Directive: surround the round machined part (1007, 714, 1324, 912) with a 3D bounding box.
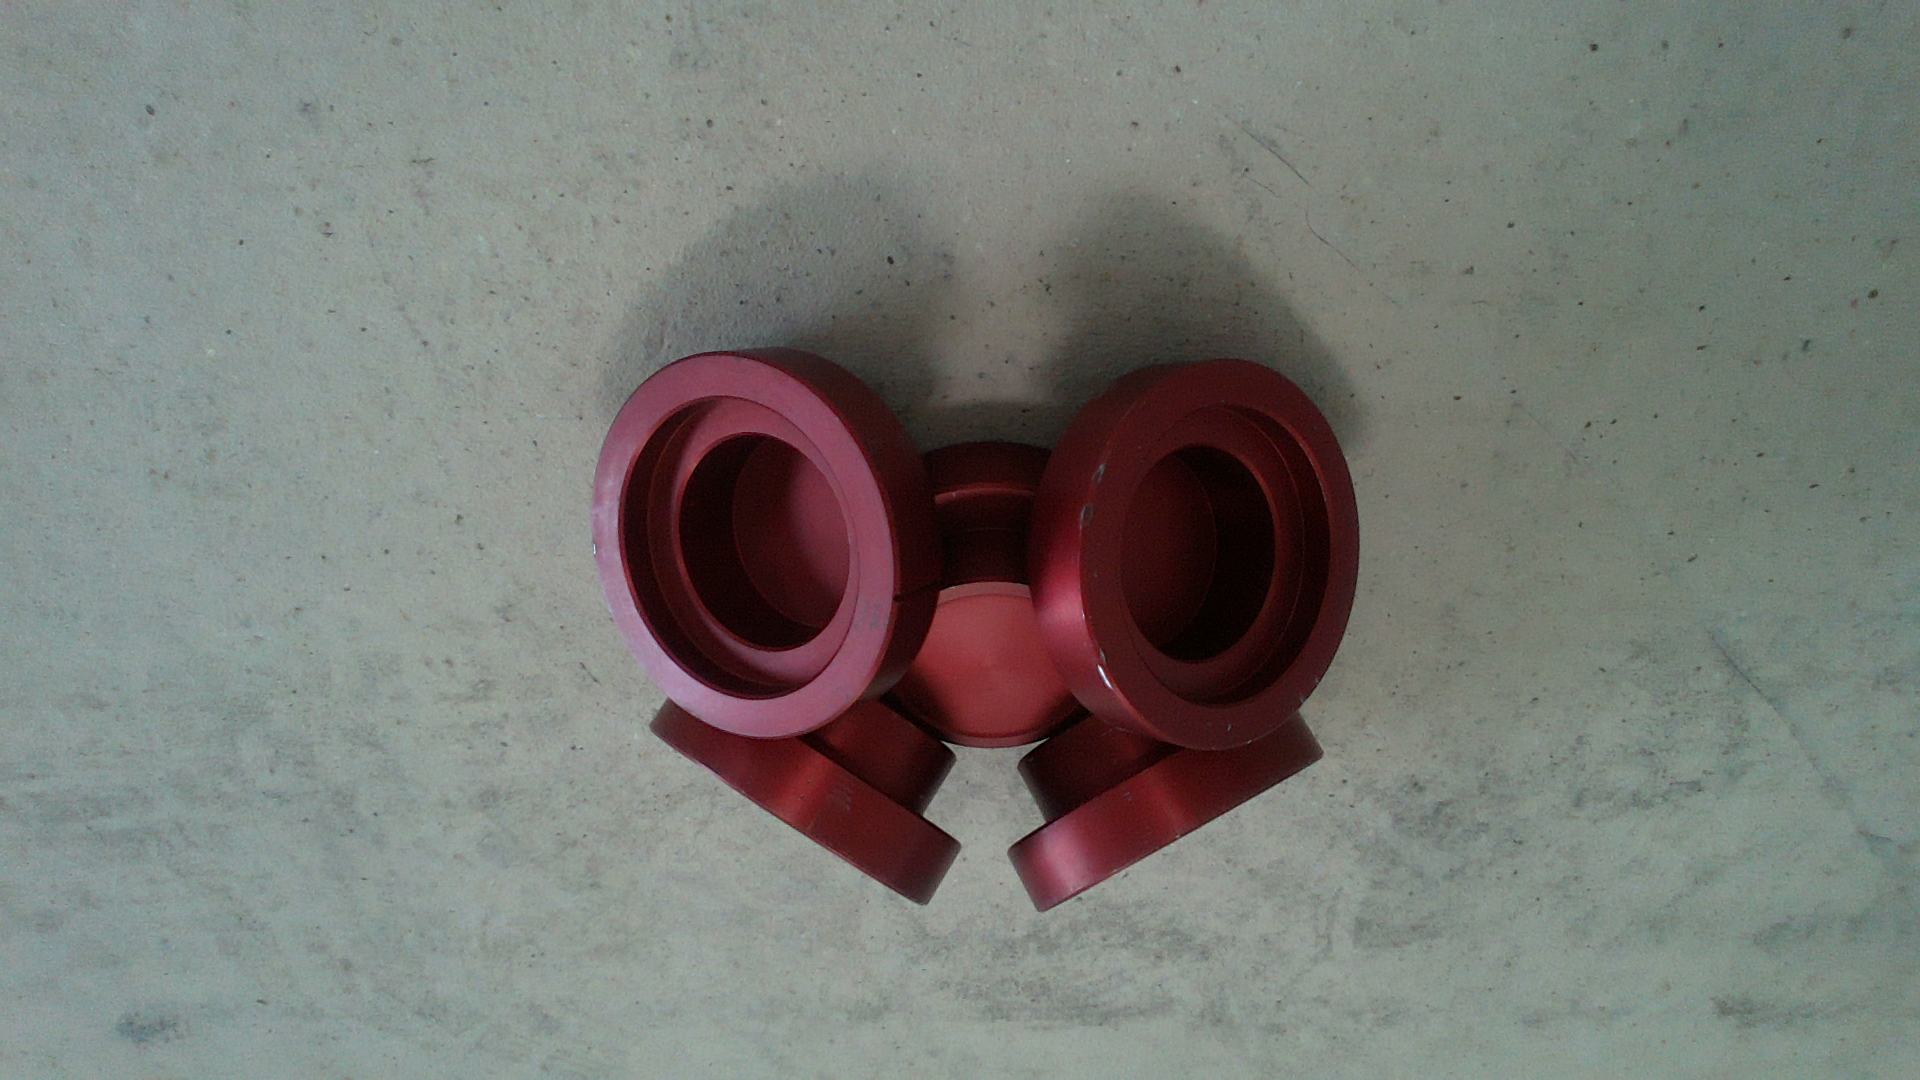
[{"bbox_3d":[0.057,0.071,0.418,0.098,0.042,0.098,-27,166,-7],"label":"round machined part"}]

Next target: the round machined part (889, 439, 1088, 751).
[{"bbox_3d":[0.009,0.023,0.398,0.098,0.042,0.098,-1,128,-1],"label":"round machined part"}]

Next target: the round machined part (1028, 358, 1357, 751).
[{"bbox_3d":[0.056,0.003,0.360,0.098,0.098,0.042,42,159,-30],"label":"round machined part"}]

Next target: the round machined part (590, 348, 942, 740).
[{"bbox_3d":[-0.046,-0.001,0.358,0.098,0.042,0.098,7,103,30],"label":"round machined part"}]

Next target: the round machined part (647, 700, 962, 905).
[{"bbox_3d":[-0.040,0.065,0.412,0.098,0.098,0.042,39,77,-28],"label":"round machined part"}]
